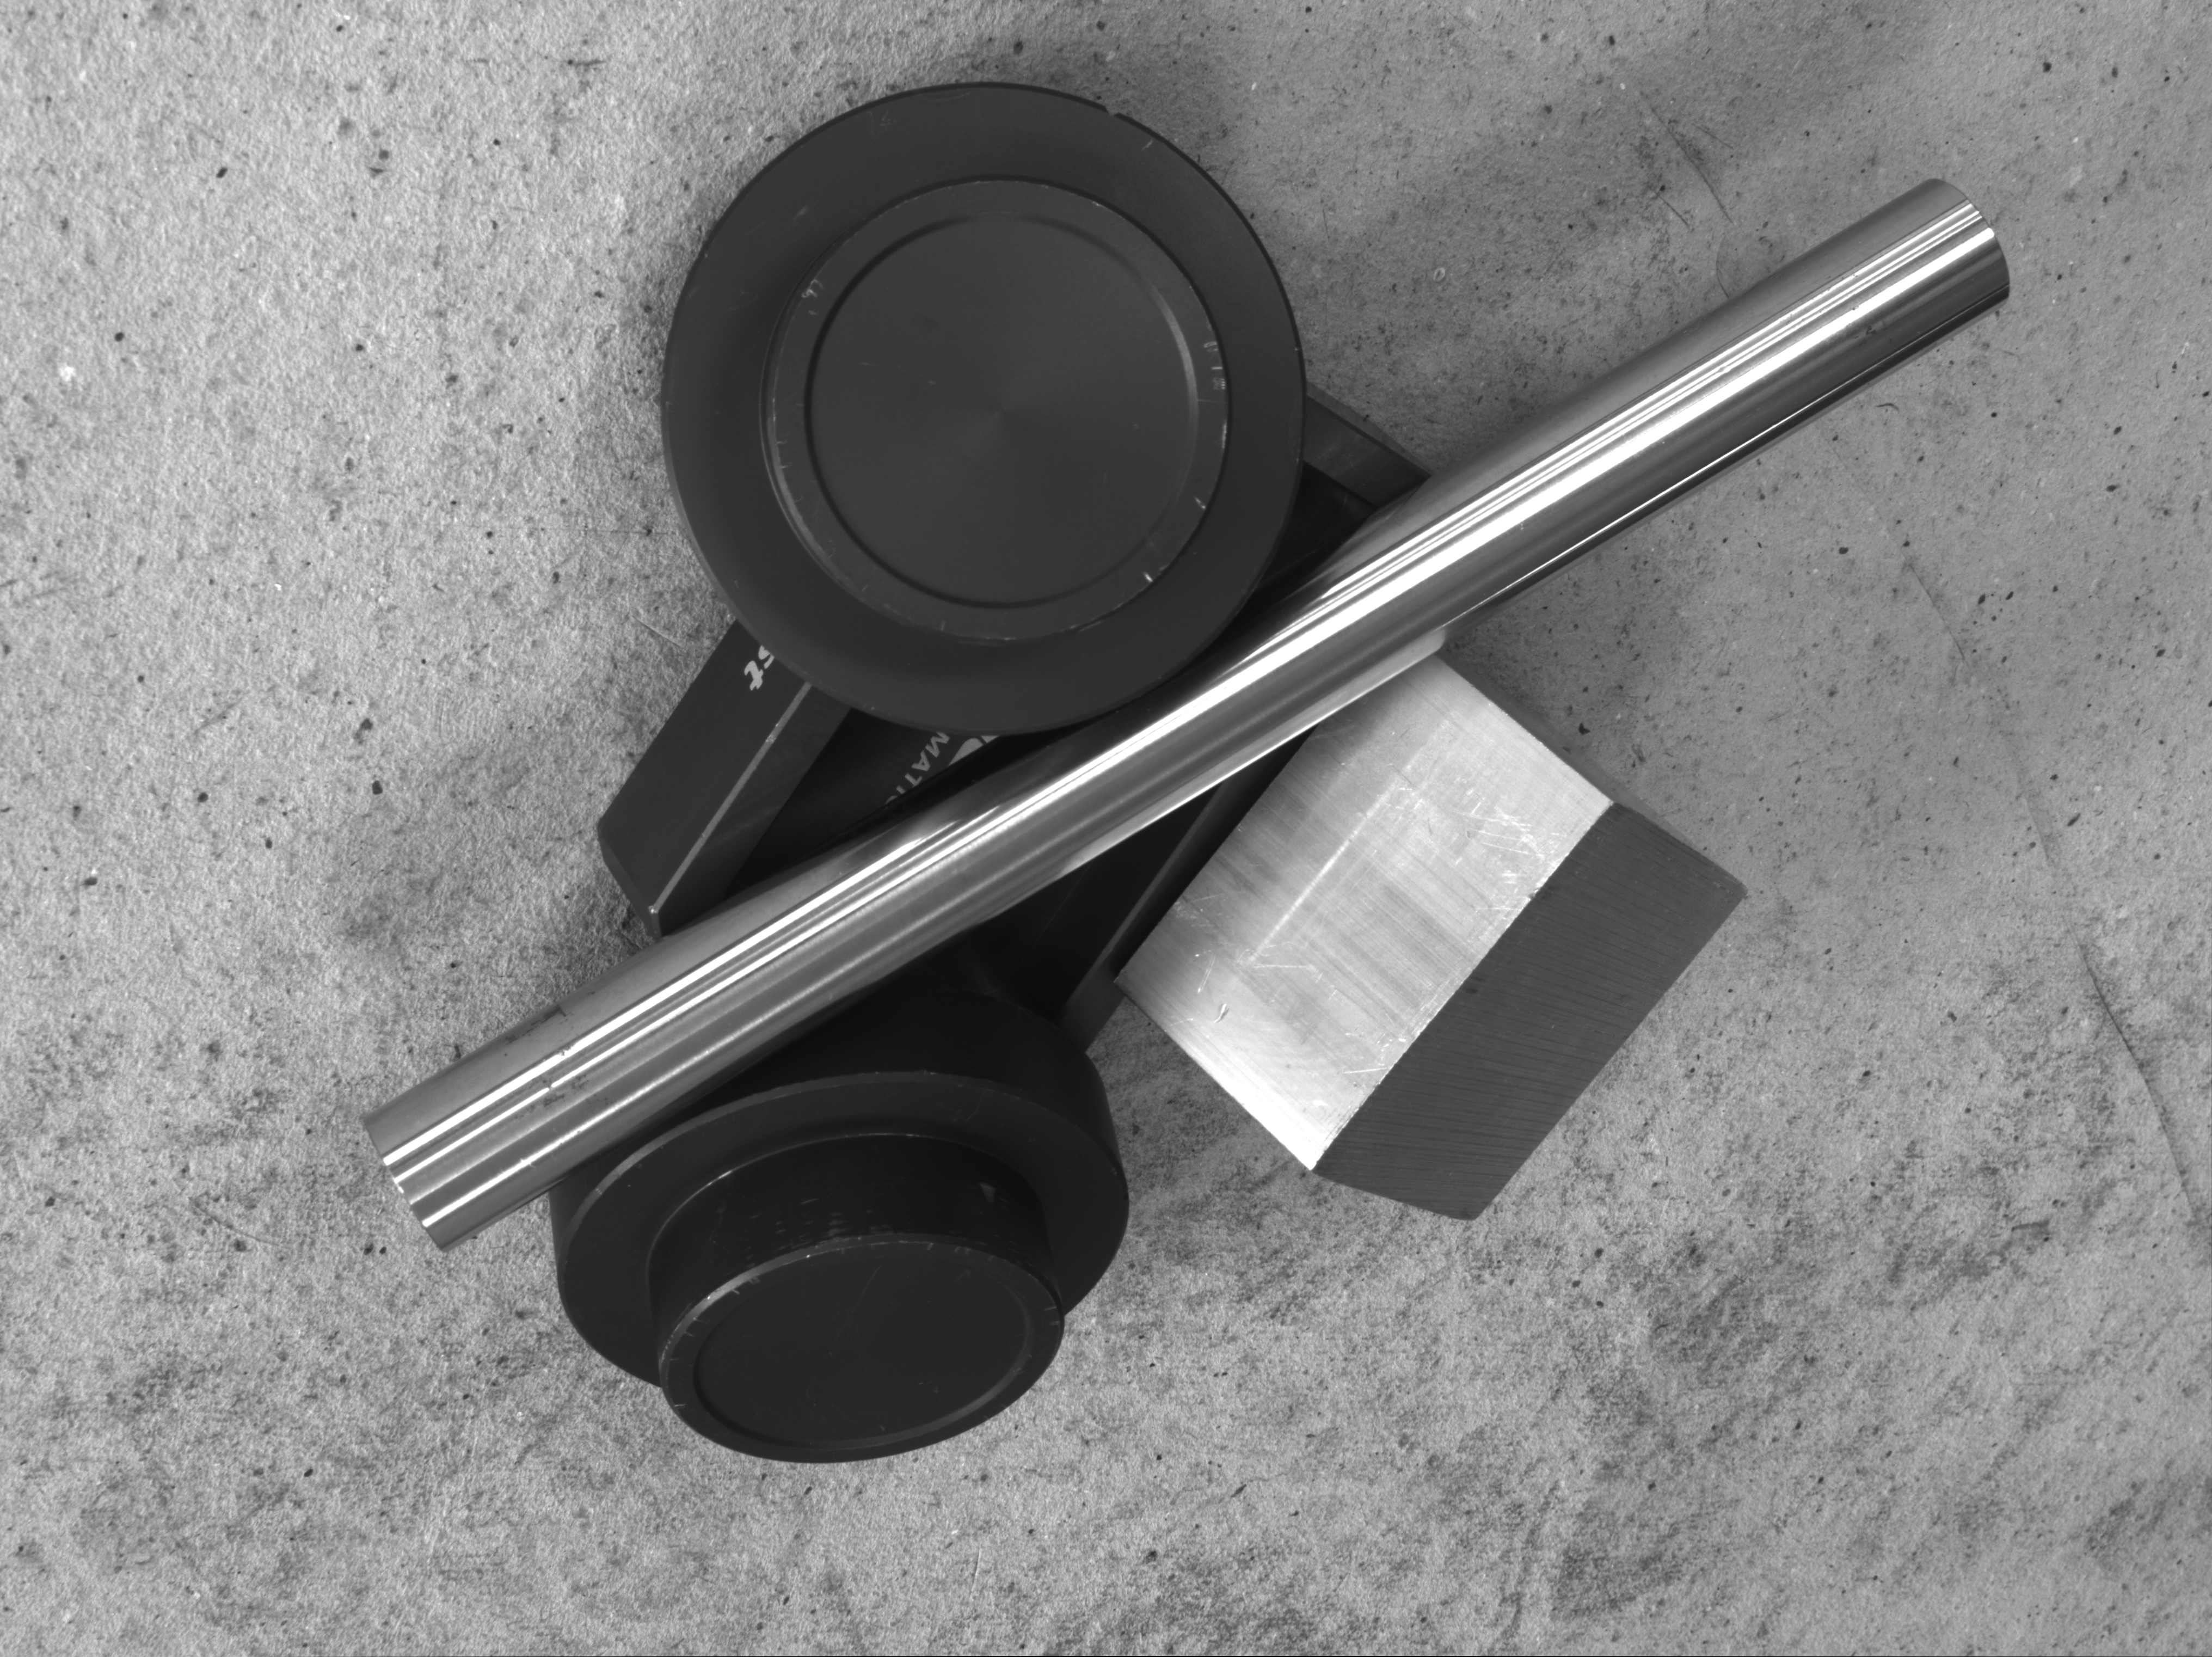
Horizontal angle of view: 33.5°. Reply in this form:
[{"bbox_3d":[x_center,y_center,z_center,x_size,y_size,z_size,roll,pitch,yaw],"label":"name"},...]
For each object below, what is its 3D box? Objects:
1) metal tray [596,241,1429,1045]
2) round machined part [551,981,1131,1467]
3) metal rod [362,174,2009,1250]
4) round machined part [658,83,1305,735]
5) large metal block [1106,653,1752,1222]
[{"bbox_3d":[-0.012,-0.026,0.613,0.090,0.030,0.130,27,103,-37],"label":"metal tray"},{"bbox_3d":[-0.044,0.073,0.626,0.098,0.042,0.098,-9,140,-7],"label":"round machined part"},{"bbox_3d":[0.017,-0.022,0.596,0.300,0.025,0.025,-31,128,-8],"label":"metal rod"},{"bbox_3d":[-0.018,-0.063,0.553,0.098,0.042,0.098,-1,97,-7],"label":"round machined part"},{"bbox_3d":[0.059,0.019,0.646,0.080,0.050,0.080,-51,152,7],"label":"large metal block"}]
